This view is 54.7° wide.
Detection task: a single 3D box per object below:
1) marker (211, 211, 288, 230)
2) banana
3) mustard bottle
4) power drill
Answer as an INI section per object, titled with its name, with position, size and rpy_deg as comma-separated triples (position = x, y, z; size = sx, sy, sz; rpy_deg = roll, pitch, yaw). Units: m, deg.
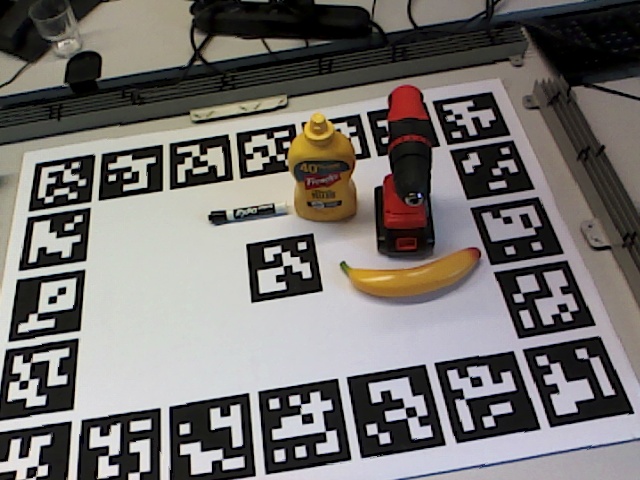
[marker]
position = -0.112, -0.030, 0.972
size = 0.121, 0.019, 0.020
rpy_deg = -6, 58, 2
[banana]
position = 0.126, 0.069, 0.873
size = 0.197, 0.038, 0.074
rpy_deg = -2, 58, 7
[mustard bottle]
position = 0.008, -0.087, 0.893
size = 0.096, 0.191, 0.058
rpy_deg = 2, 57, 5
[power drill]
position = 0.118, -0.057, 0.842
size = 0.057, 0.186, 0.185
rpy_deg = 4, 55, 6
